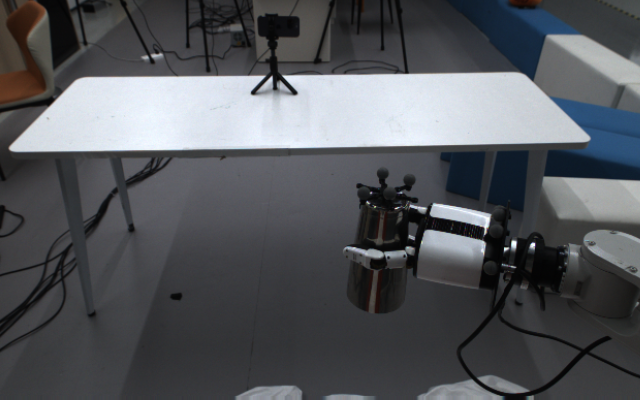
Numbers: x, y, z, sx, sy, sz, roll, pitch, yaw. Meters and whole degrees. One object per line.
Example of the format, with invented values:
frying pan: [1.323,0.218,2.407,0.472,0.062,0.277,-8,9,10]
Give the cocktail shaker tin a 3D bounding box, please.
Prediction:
cocktail shaker tin: [0.092,0.070,0.711,0.093,0.170,0.093,1,30,-1]
